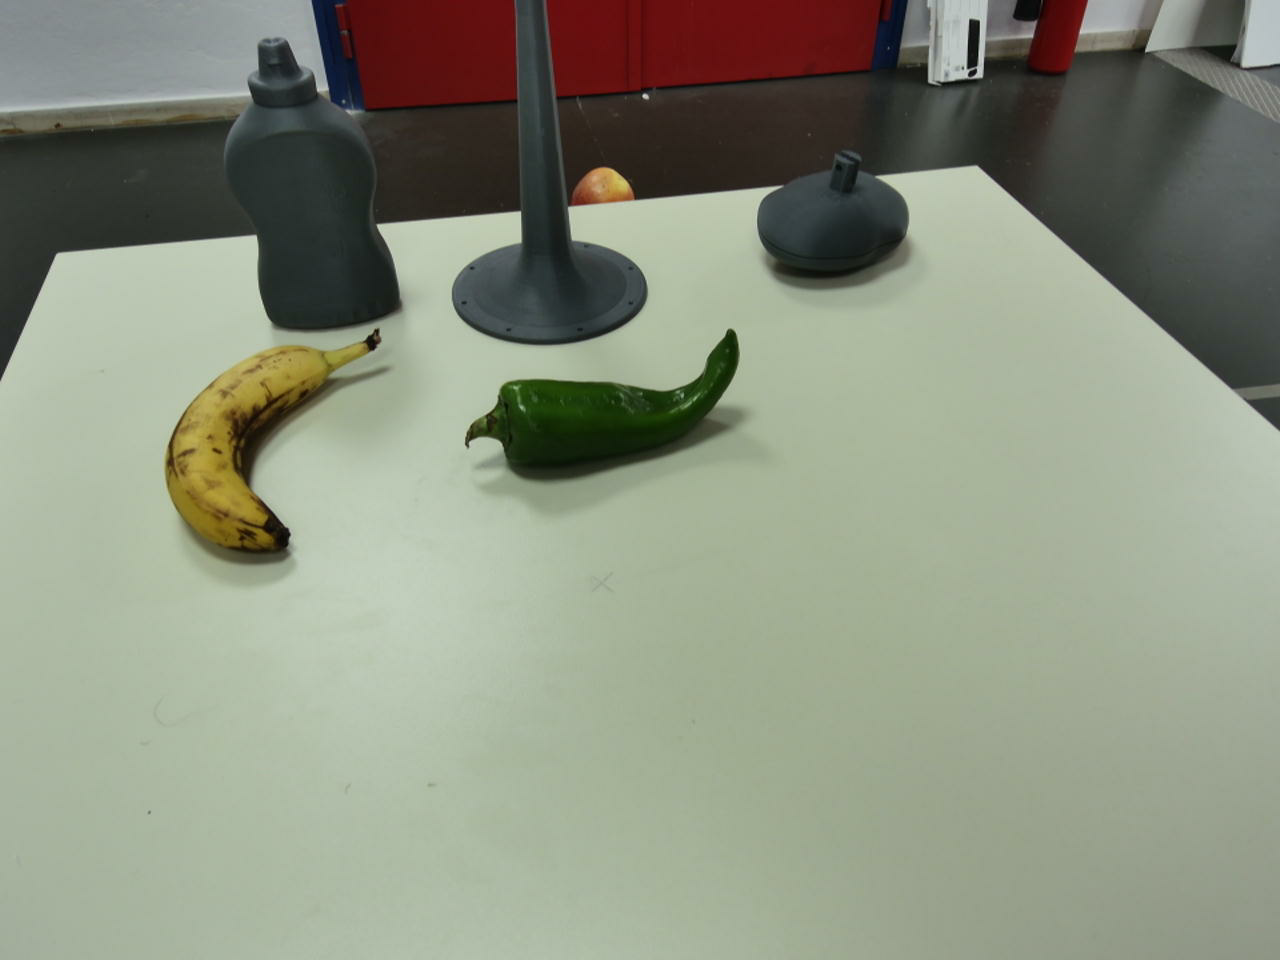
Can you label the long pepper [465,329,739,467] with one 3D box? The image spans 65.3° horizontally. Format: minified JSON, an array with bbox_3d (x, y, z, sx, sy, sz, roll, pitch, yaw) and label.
[{"bbox_3d":[-0.020,-0.047,0.604,0.175,0.065,0.058,-9,40,-11],"label":"long pepper"}]
